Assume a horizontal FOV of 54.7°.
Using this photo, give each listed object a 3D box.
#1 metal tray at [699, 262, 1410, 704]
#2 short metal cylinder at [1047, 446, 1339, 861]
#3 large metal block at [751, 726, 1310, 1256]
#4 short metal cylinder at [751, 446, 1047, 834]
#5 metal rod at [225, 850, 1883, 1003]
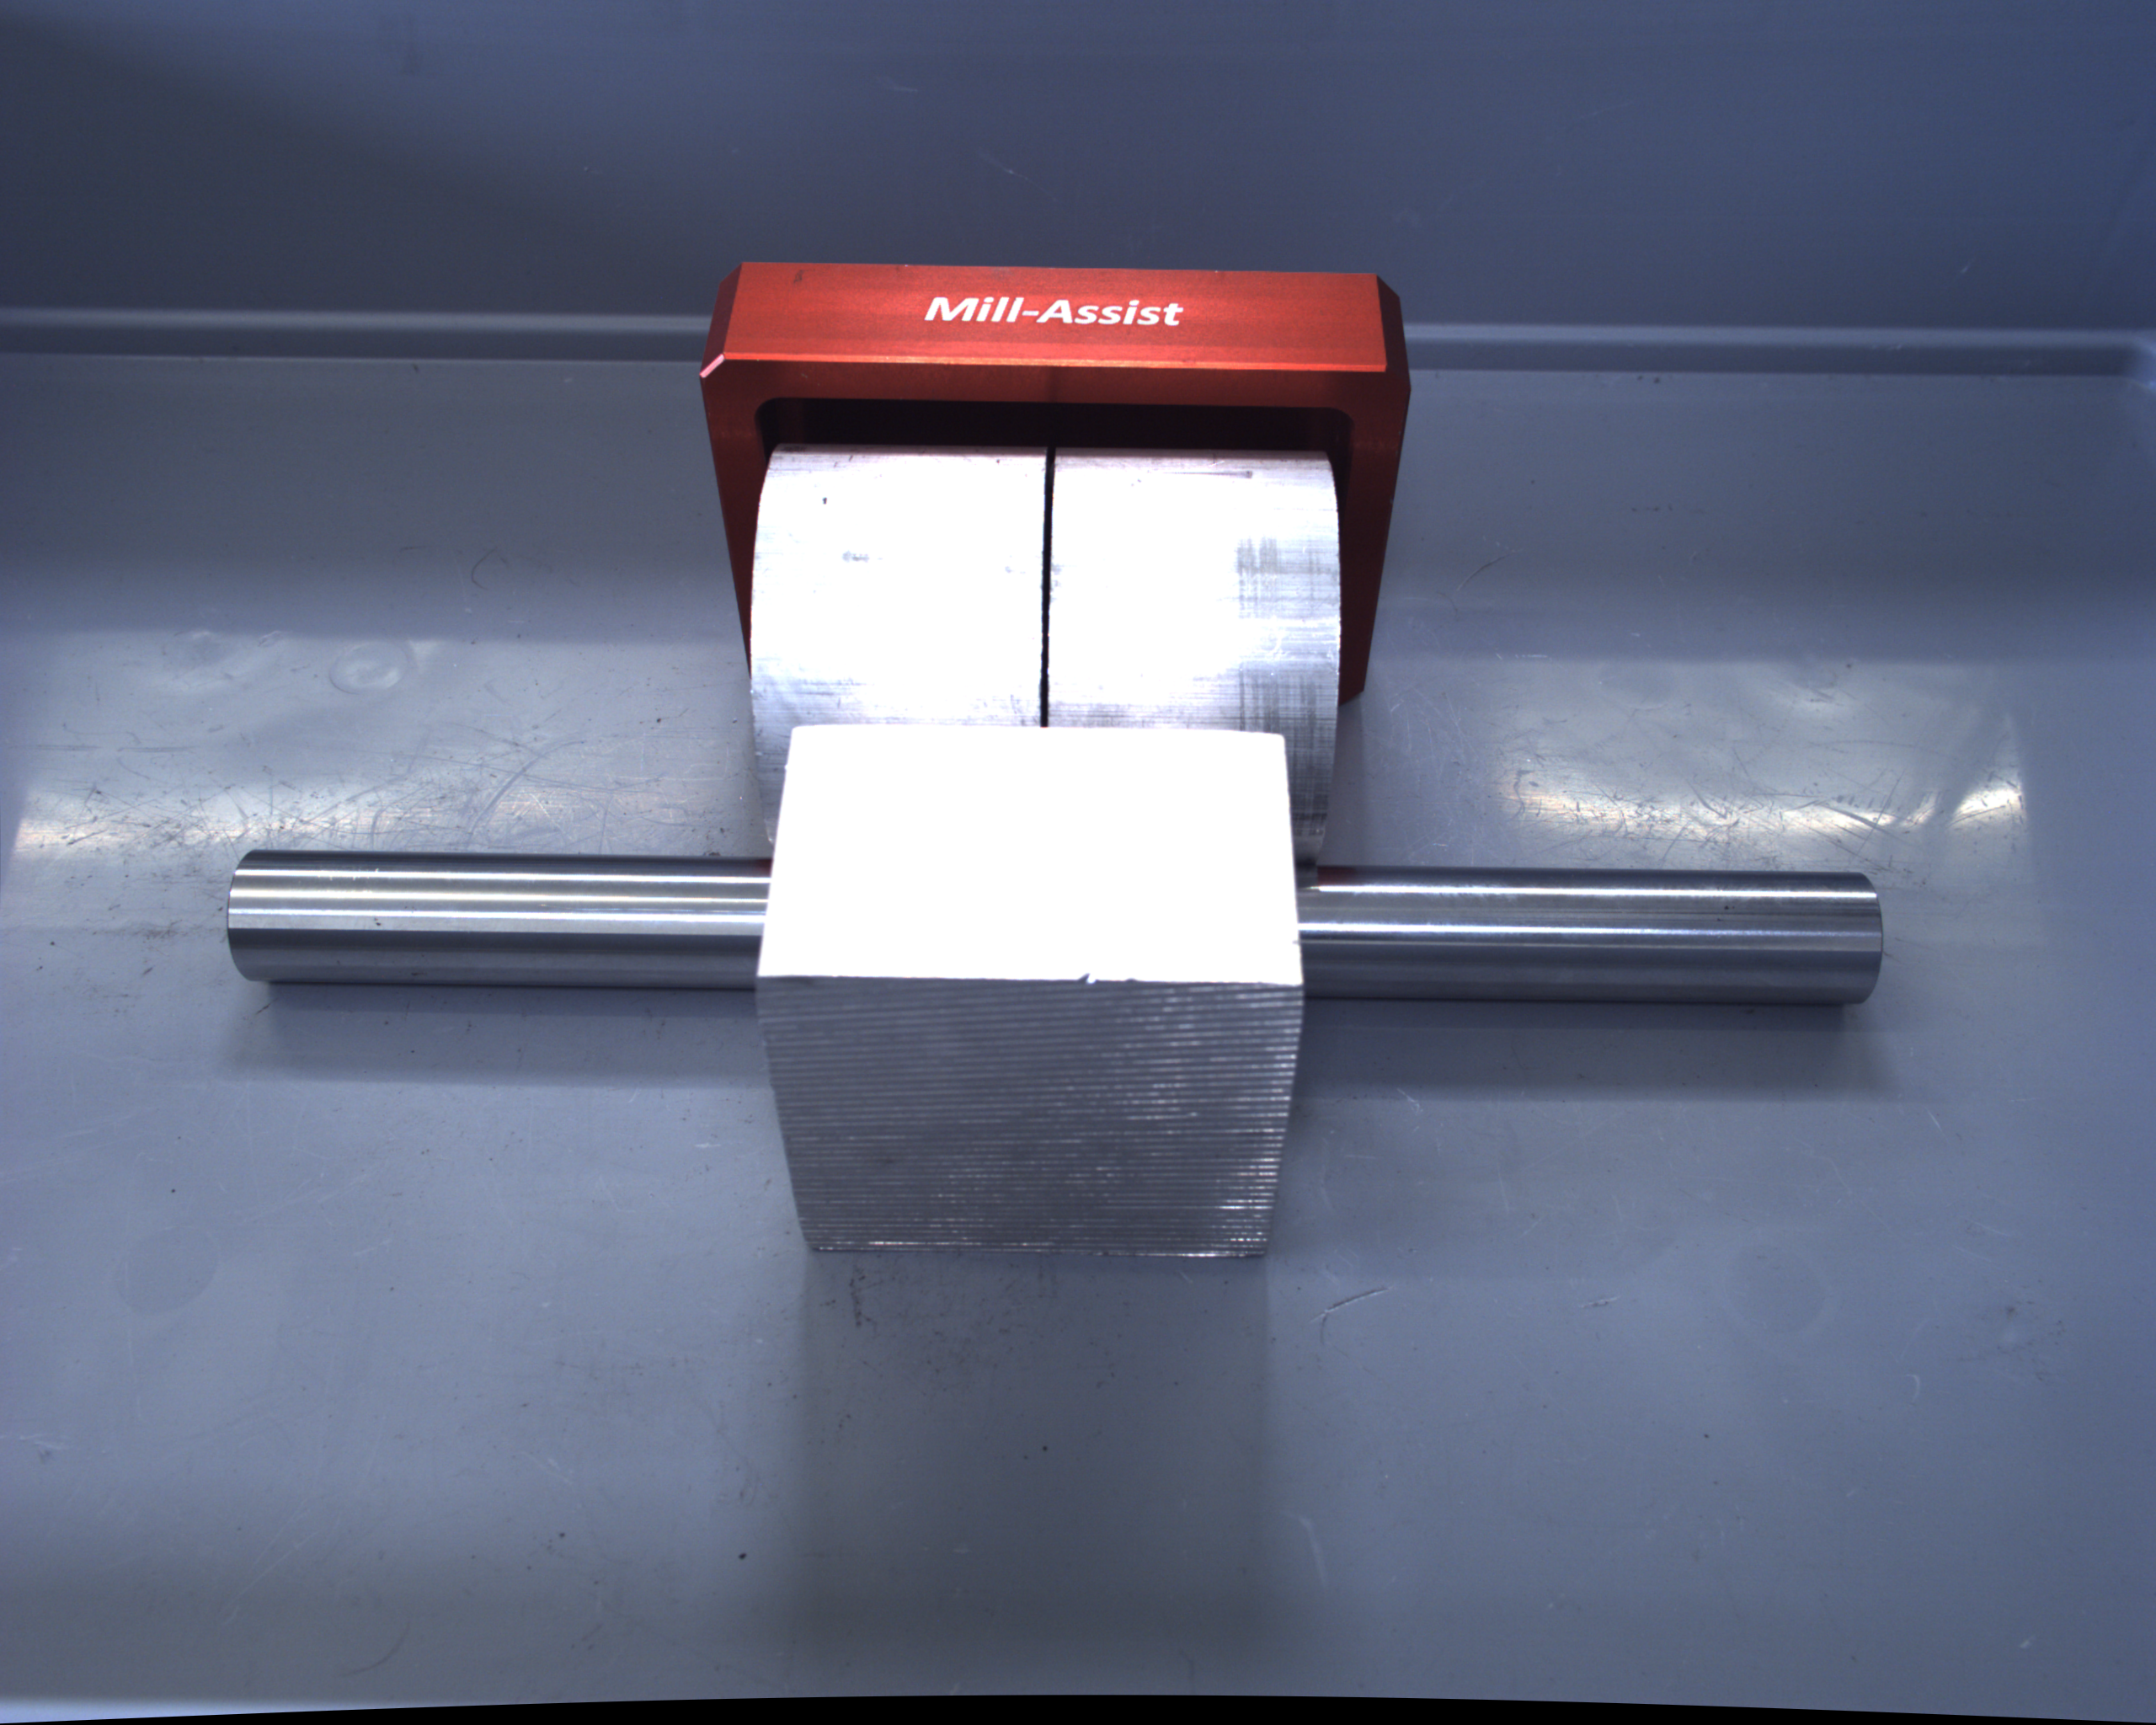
[{"bbox_3d":[-0.004,-0.074,0.423,0.131,0.089,0.030,1,50,0],"label":"metal tray"},{"bbox_3d":[0.021,-0.039,0.401,0.050,0.080,0.080,1,50,1],"label":"short metal cylinder"},{"bbox_3d":[-0.006,0.023,0.347,0.081,0.080,0.050,1,50,0],"label":"large metal block"},{"bbox_3d":[-0.031,-0.040,0.401,0.050,0.080,0.080,1,50,0],"label":"short metal cylinder"},{"bbox_3d":[-0.004,0.012,0.392,0.302,0.025,0.025,1,50,0],"label":"metal rod"}]
